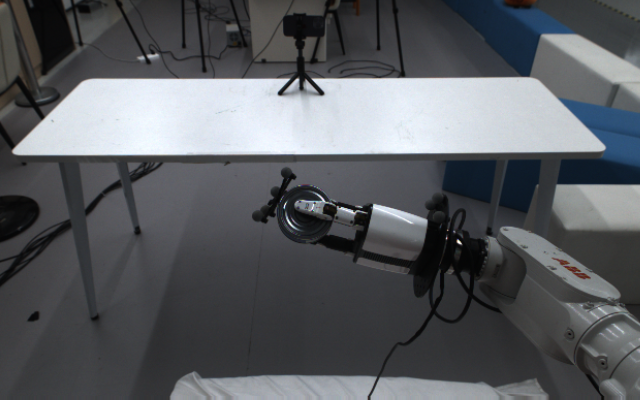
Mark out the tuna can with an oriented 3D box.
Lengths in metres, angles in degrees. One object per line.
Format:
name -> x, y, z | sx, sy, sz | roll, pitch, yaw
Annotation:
tuna can -> -0.019, 0.025, 0.721 | 0.085, 0.034, 0.085 | 1, 76, -5
